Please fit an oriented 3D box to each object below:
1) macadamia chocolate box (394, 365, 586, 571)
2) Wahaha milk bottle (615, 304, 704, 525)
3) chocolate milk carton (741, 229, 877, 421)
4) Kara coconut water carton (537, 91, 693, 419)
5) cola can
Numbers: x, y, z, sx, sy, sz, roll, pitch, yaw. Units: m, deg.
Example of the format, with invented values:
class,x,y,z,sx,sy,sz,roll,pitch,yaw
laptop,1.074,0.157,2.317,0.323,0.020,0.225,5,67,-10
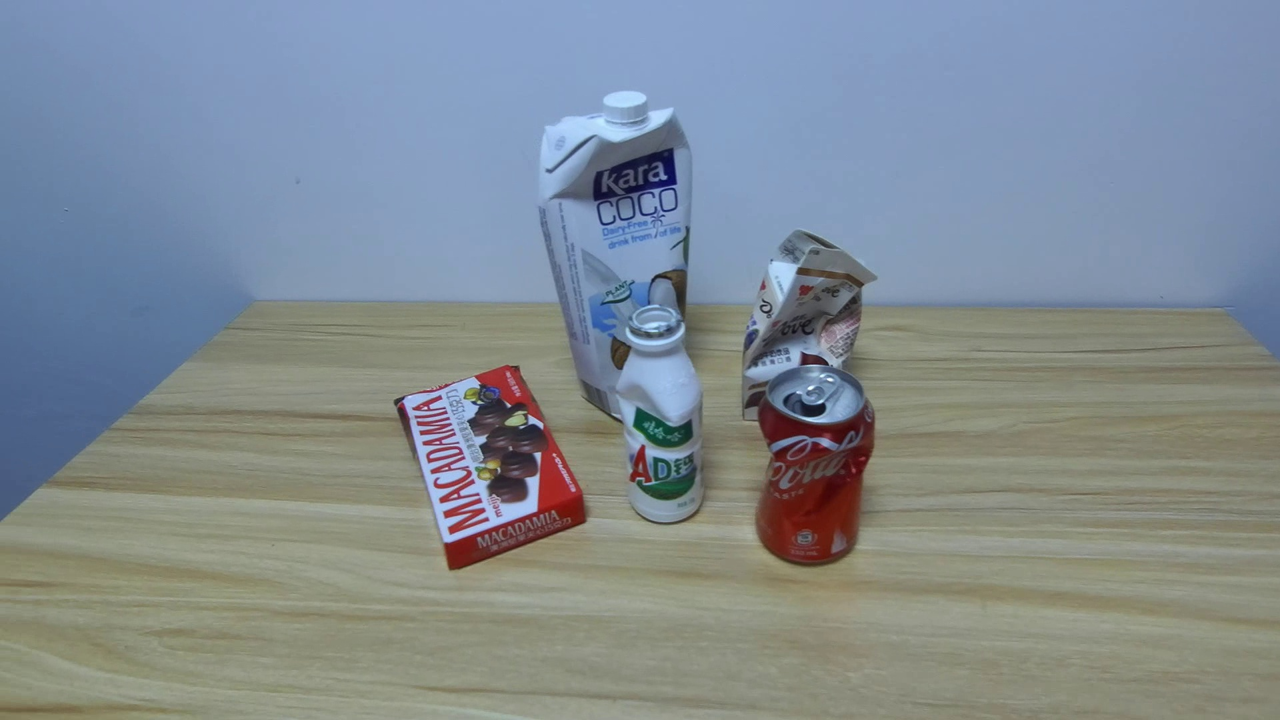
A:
class,x,y,z,sx,sy,sz,roll,pitch,yaw
macadamia chocolate box,-0.115,0.068,0.527,0.106,0.028,0.182,-17,36,-19
Wahaha milk bottle,0.013,0.036,0.445,0.056,0.148,0.056,-3,36,3
chocolate milk carton,0.123,-0.026,0.526,0.089,0.155,0.076,10,37,-4
Kara coconut water carton,-0.013,-0.074,0.527,0.115,0.239,0.069,-24,37,-30
cola can,0.102,0.063,0.424,0.066,0.117,0.066,-2,33,3
